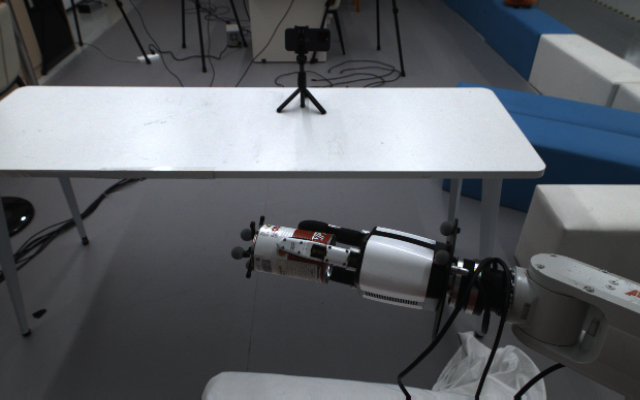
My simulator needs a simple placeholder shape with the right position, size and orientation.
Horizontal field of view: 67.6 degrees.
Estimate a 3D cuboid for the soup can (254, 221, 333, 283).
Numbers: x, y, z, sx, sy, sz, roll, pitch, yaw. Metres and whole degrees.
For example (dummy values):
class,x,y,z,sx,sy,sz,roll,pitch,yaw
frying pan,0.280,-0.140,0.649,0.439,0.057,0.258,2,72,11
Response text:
class,x,y,z,sx,sy,sz,roll,pitch,yaw
soup can,-0.032,0.072,0.655,0.101,0.067,0.067,7,35,10
